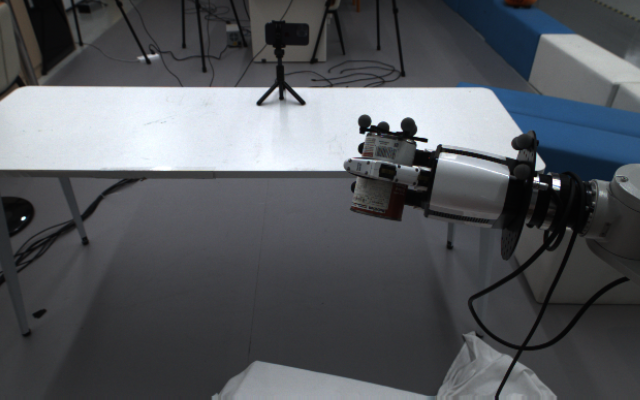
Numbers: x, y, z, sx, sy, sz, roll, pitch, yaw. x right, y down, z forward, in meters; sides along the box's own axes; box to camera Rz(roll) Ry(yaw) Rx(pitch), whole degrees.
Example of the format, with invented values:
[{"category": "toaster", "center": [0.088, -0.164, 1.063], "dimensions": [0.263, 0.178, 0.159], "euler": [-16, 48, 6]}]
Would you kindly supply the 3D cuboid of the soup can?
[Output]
[{"category": "soup can", "center": [0.082, -0.030, 0.621], "dimensions": [0.067, 0.101, 0.067], "euler": [11, 2, 0]}]
